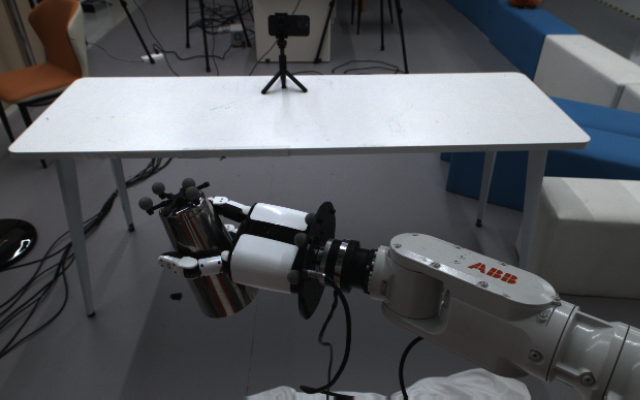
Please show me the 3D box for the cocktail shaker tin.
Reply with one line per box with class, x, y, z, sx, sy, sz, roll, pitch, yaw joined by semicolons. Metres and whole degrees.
cocktail shaker tin;-0.160;0.074;0.685;0.093;0.170;0.093;-15;29;9
